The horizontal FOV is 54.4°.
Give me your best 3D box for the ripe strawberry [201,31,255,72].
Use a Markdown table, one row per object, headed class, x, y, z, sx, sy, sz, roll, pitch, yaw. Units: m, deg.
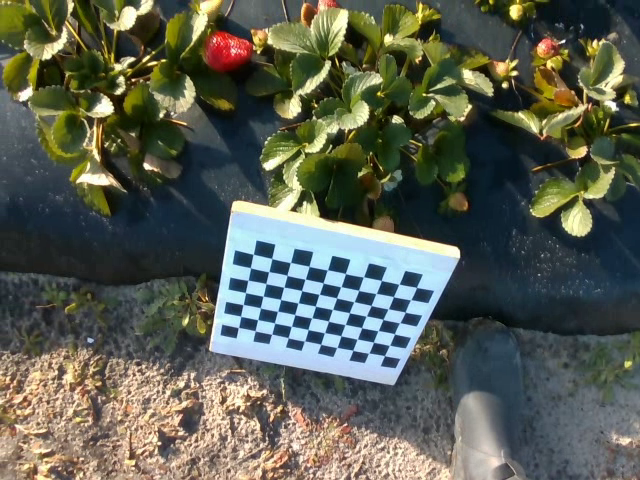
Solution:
| class | x | y | z | sx | sy | sz | roll | pitch | yaw |
| --- | --- | --- | --- | --- | --- | --- | --- | --- | --- |
| ripe strawberry | -0.108 | -0.228 | 0.748 | 0.072 | 0.057 | 0.055 | -1 | 43 | 17 |
